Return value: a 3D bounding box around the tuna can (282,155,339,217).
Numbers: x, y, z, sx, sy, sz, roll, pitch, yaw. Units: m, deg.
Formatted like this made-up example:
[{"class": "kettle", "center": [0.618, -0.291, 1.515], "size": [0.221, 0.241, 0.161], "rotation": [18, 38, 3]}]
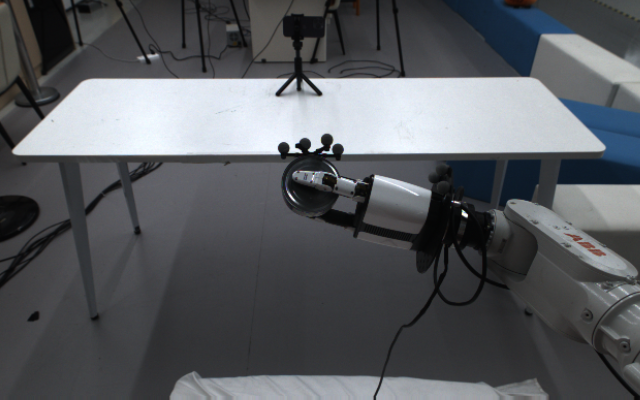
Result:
[{"class": "tuna can", "center": [-0.011, -0.016, 0.690], "size": [0.085, 0.034, 0.085], "rotation": [1, 71, -4]}]
